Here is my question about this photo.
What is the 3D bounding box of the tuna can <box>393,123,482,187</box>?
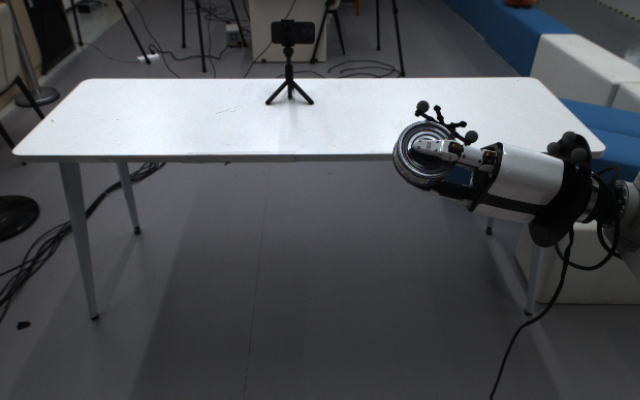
[{"bbox_3d":[0.150,-0.058,0.667,0.085,0.034,0.085,0,74,0],"label":"tuna can"}]
